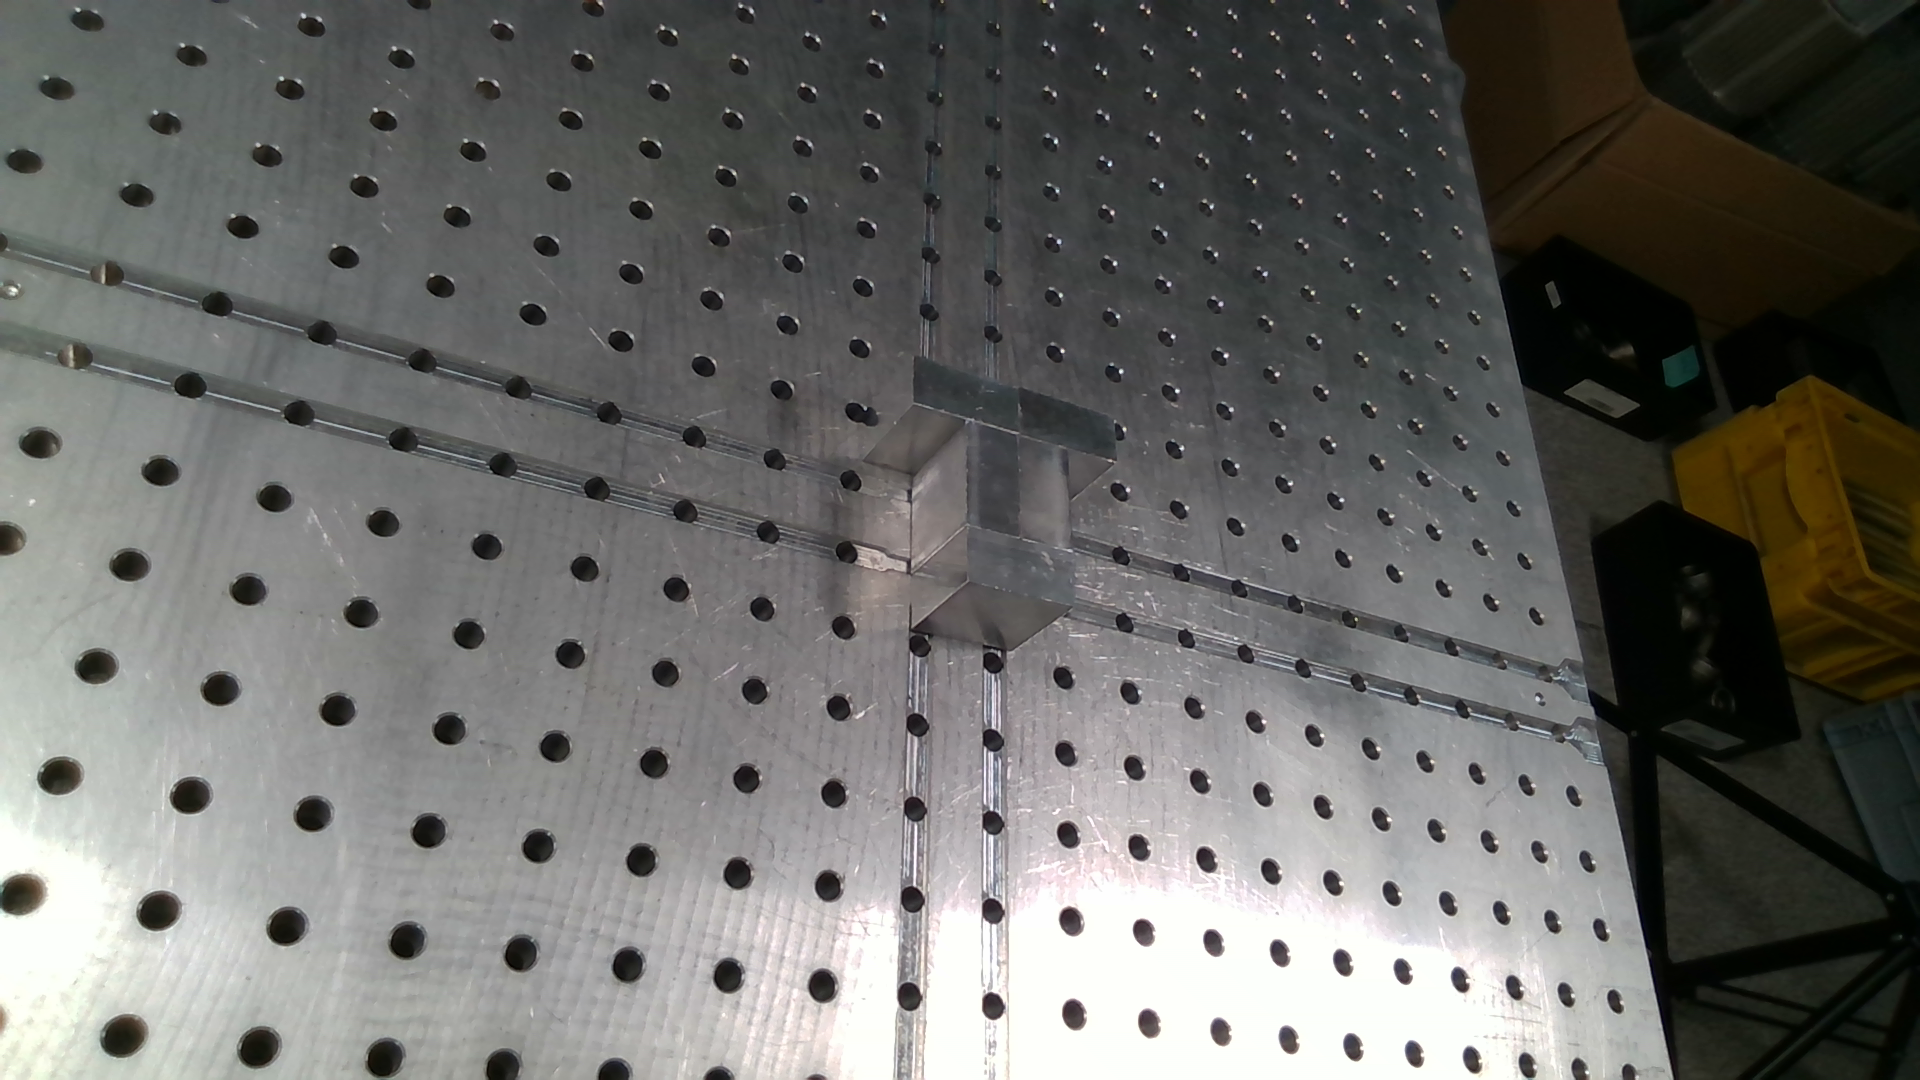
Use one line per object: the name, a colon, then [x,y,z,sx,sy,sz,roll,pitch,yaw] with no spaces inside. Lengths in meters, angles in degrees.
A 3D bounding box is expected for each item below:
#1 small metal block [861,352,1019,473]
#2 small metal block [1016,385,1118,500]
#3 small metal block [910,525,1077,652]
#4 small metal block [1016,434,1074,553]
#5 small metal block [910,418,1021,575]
small metal block: [-0.009,-0.051,0.594,0.050,0.050,0.025,14,59,-25]
small metal block: [0.035,-0.040,0.615,0.050,0.050,0.025,14,59,-25]
small metal block: [0.013,0.021,0.569,0.050,0.050,0.025,14,59,-25]
small metal block: [0.024,-0.009,0.592,0.025,0.050,0.050,14,59,-25]
small metal block: [0.002,-0.015,0.581,0.025,0.050,0.050,14,59,-25]
